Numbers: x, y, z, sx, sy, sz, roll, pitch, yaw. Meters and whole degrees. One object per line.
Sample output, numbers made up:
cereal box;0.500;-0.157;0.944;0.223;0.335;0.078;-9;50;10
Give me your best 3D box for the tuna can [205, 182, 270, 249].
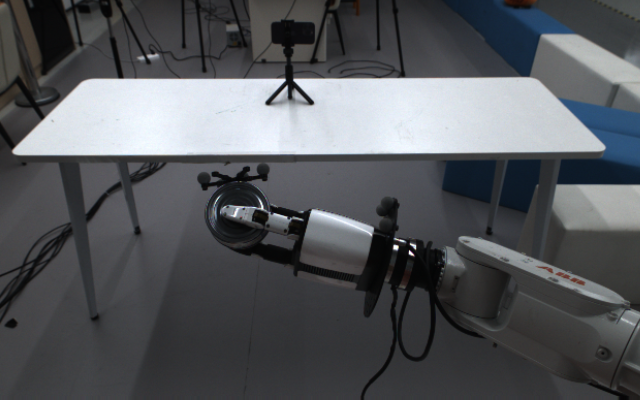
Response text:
tuna can;-0.102;0.025;0.630;0.085;0.034;0.085;0;72;-1
